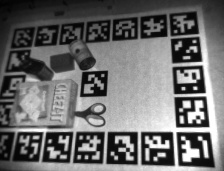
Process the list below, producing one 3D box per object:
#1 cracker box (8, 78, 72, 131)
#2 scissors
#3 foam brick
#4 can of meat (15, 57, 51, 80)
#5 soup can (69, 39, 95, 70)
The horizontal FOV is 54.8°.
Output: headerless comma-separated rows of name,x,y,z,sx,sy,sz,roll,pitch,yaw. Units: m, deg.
cracker box,-0.254,0.068,0.767,0.212,0.073,0.163,-8,70,14
scissors,-0.136,0.107,0.763,0.202,0.016,0.087,-7,72,10
foam brick,-0.200,-0.090,0.833,0.078,0.052,0.052,-12,71,8
can of meat,-0.298,-0.062,0.824,0.101,0.084,0.058,12,76,15
soup can,-0.119,-0.119,0.825,0.068,0.068,0.101,-37,64,-1
